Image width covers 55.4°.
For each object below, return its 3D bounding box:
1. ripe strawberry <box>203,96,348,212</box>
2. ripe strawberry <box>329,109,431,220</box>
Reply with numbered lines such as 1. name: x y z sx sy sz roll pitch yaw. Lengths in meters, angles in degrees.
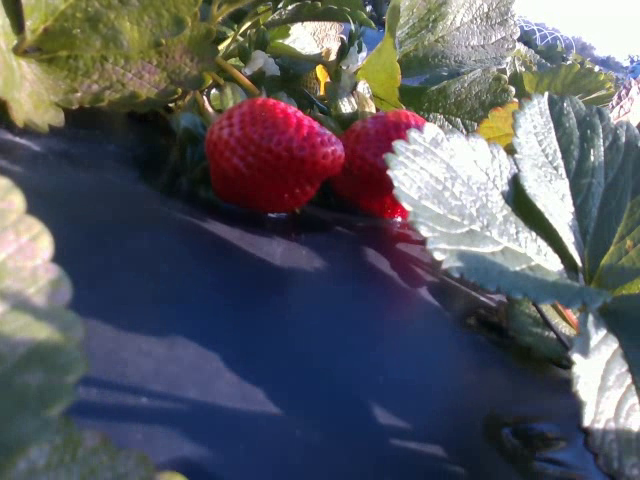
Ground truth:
1. ripe strawberry: -0.011 -0.024 0.174 0.051 0.037 0.043 15 45 38
2. ripe strawberry: 0.034 -0.024 0.207 0.052 0.046 0.057 -33 34 -34
